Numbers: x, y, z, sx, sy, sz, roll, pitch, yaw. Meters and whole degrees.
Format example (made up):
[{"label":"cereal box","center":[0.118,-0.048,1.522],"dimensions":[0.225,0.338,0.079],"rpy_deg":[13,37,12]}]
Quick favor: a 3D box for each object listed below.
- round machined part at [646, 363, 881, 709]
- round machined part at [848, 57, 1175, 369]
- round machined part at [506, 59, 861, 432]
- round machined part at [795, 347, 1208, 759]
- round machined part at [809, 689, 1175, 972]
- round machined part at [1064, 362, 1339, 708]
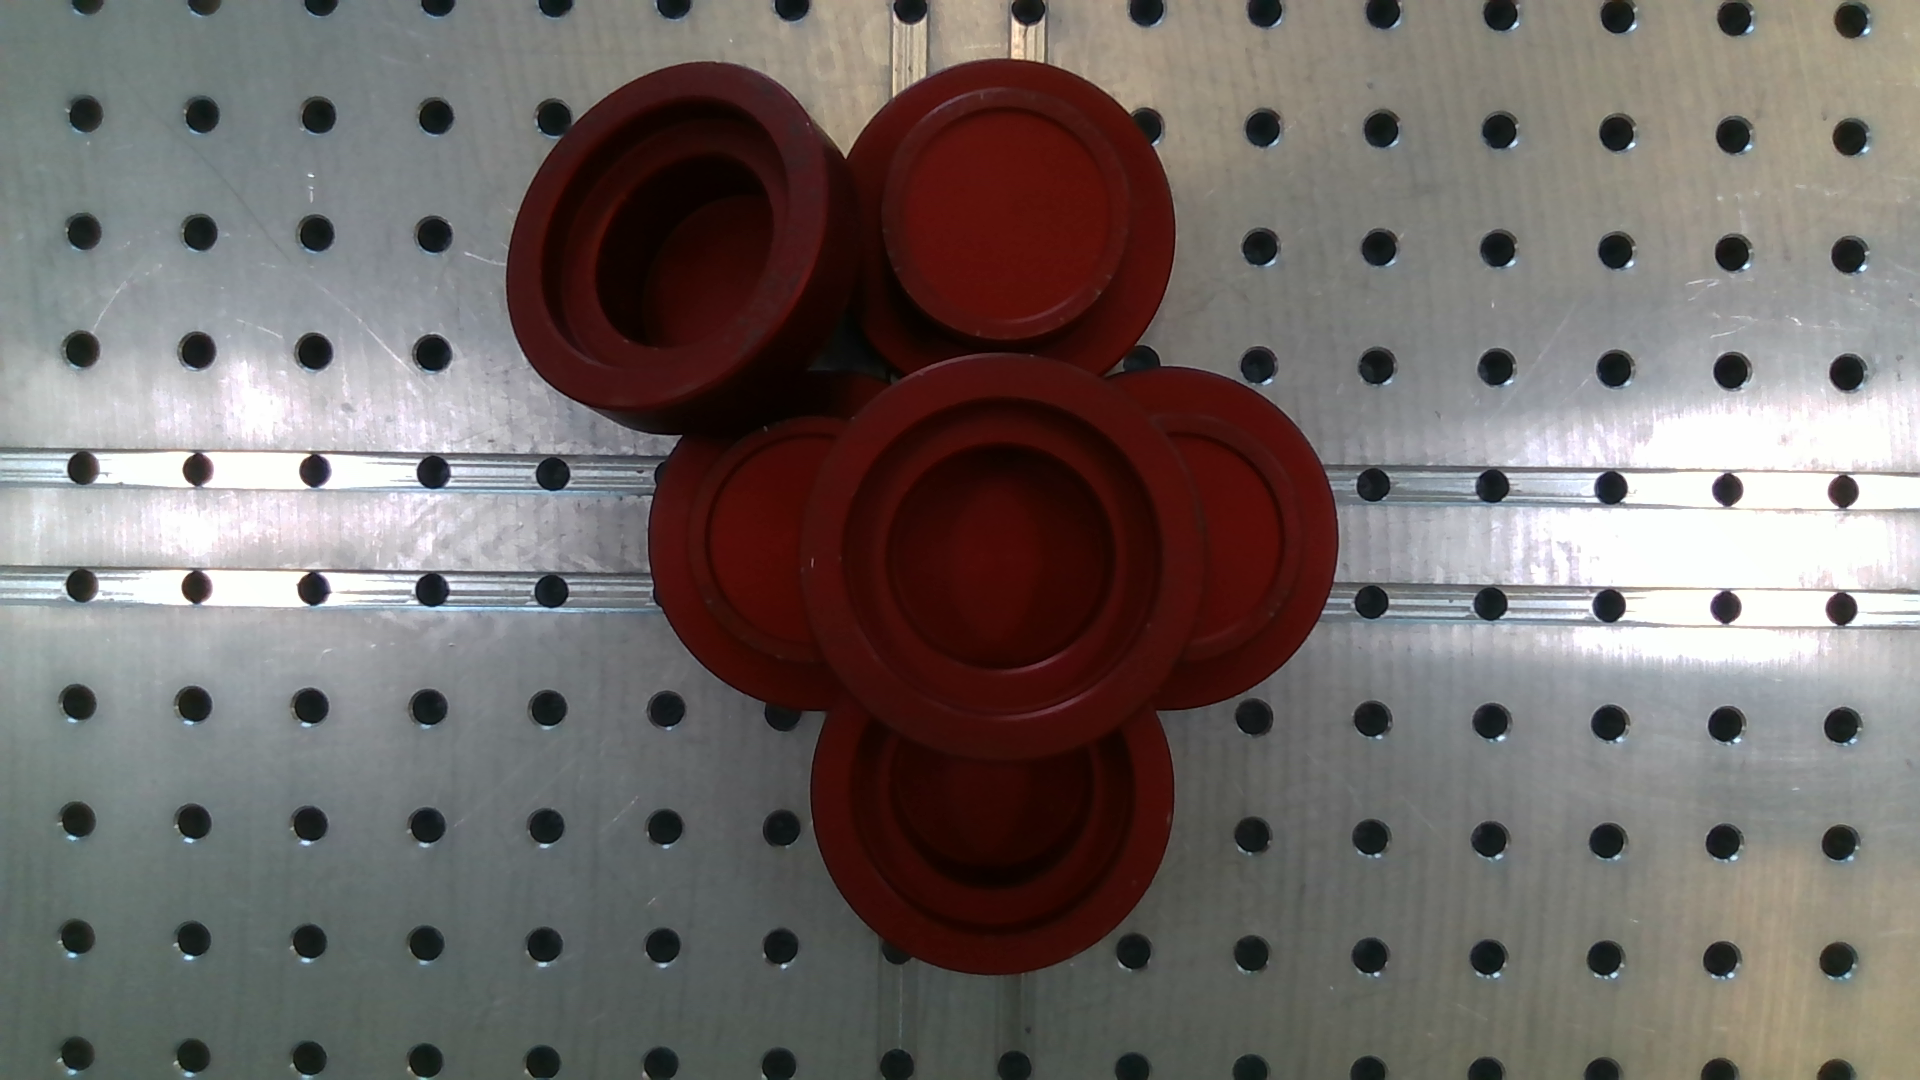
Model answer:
[{"label":"round machined part","center":[-0.040,-0.001,0.389],"dimensions":[0.098,0.042,0.098],"rpy_deg":[0,90,0]},{"label":"round machined part","center":[0.012,-0.088,0.389],"dimensions":[0.098,0.042,0.098],"rpy_deg":[0,90,0]},{"label":"round machined part","center":[-0.071,-0.076,0.376],"dimensions":[0.098,0.042,0.098],"rpy_deg":[-6,74,21]},{"label":"round machined part","center":[0.010,0.003,0.346],"dimensions":[0.098,0.042,0.098],"rpy_deg":[0,90,0]},{"label":"round machined part","center":[0.009,0.067,0.389],"dimensions":[0.098,0.042,0.098],"rpy_deg":[0,90,0]},{"label":"round machined part","center":[0.059,-0.001,0.389],"dimensions":[0.098,0.042,0.098],"rpy_deg":[0,90,0]}]
